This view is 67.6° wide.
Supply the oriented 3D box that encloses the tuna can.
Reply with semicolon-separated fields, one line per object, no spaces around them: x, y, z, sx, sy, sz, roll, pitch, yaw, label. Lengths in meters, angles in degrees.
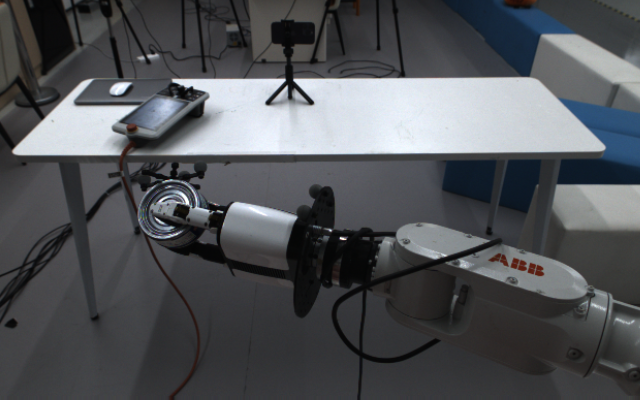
-0.185;0.024;0.621;0.085;0.034;0.085;-3;69;9;tuna can
